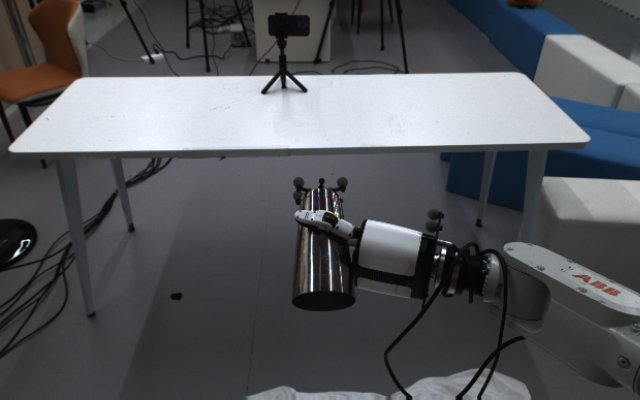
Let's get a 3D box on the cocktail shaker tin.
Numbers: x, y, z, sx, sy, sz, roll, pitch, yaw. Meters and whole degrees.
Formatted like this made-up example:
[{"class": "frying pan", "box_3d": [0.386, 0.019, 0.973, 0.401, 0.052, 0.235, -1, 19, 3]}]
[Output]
[{"class": "cocktail shaker tin", "box_3d": [0.002, 0.071, 0.726, 0.093, 0.093, 0.170, 0, 59, -3]}]
